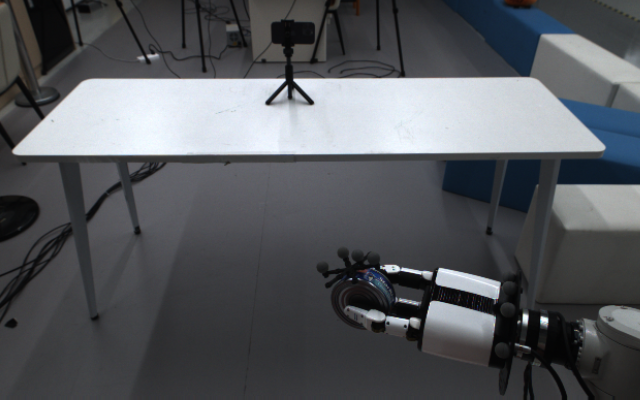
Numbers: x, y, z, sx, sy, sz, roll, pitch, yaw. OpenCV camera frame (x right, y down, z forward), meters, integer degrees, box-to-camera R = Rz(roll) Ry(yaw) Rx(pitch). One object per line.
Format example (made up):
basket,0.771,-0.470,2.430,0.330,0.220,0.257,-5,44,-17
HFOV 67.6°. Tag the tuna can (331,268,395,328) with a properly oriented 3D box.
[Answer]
tuna can,0.062,0.136,0.672,0.085,0.085,0.034,15,30,17
